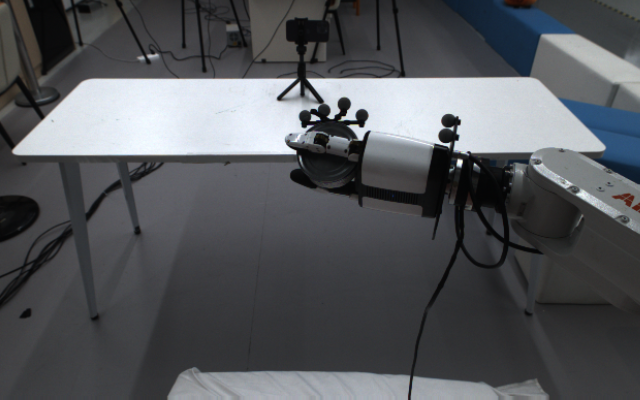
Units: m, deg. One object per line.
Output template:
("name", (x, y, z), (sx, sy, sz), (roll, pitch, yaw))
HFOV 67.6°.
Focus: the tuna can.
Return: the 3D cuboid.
("tuna can", (0.014, -0.060, 0.654), (0.085, 0.034, 0.085), (-3, 73, 10))
